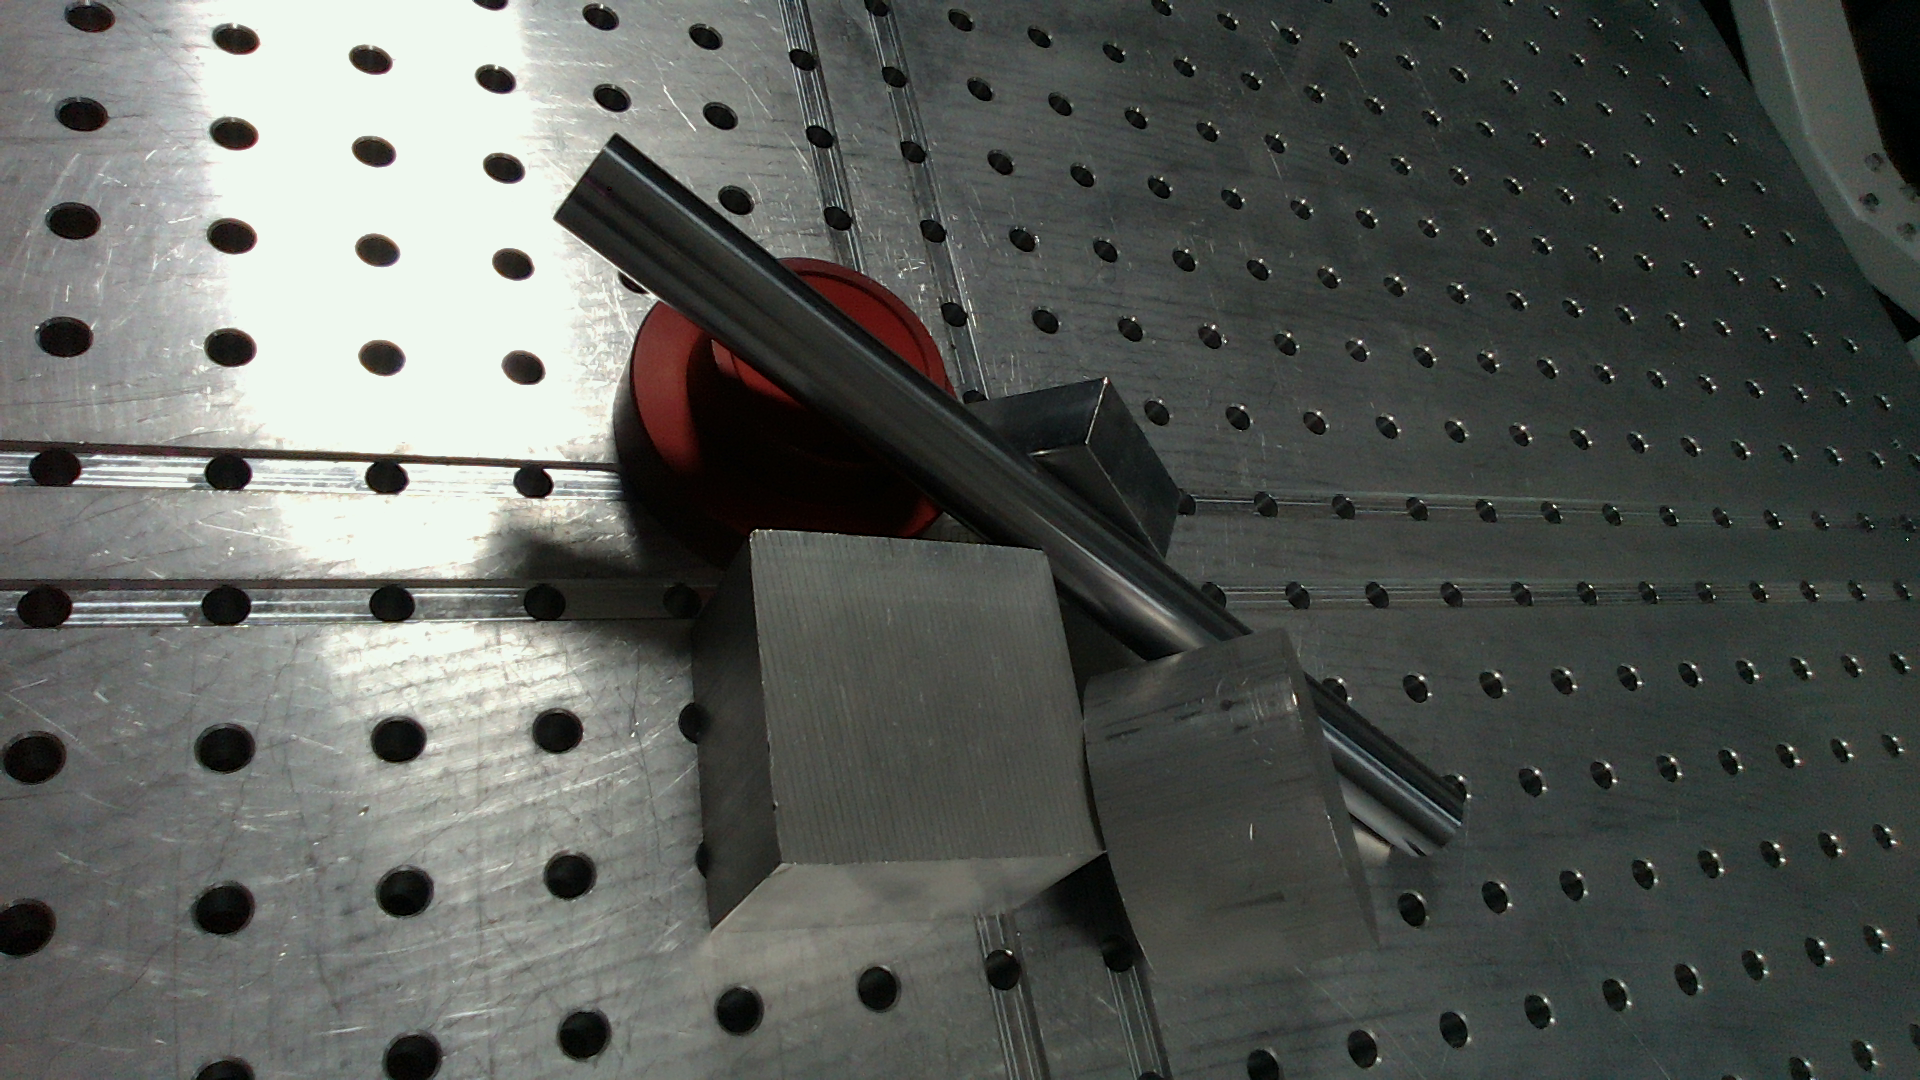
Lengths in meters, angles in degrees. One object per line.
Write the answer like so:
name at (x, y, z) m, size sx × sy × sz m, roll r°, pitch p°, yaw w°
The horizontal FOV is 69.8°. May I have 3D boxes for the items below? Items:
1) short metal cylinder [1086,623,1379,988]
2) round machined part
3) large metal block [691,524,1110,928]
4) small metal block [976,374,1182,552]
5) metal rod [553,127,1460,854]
short metal cylinder at (0.068, 0.066, 0.345) m, size 0.080 × 0.050 × 0.080 m, roll -17°, pitch 90°, yaw -76°
round machined part at (-0.043, -0.039, 0.383) m, size 0.098 × 0.042 × 0.098 m, roll 14°, pitch 56°, yaw -21°
large metal block at (-0.018, 0.046, 0.336) m, size 0.080 × 0.050 × 0.080 m, roll 5°, pitch 59°, yaw -26°
small metal block at (0.028, -0.017, 0.389) m, size 0.050 × 0.050 × 0.025 m, roll 51°, pitch 45°, yaw -38°
metal rod at (0.028, 0.000, 0.366) m, size 0.301 × 0.025 × 0.025 m, roll 37°, pitch 50°, yaw -20°
